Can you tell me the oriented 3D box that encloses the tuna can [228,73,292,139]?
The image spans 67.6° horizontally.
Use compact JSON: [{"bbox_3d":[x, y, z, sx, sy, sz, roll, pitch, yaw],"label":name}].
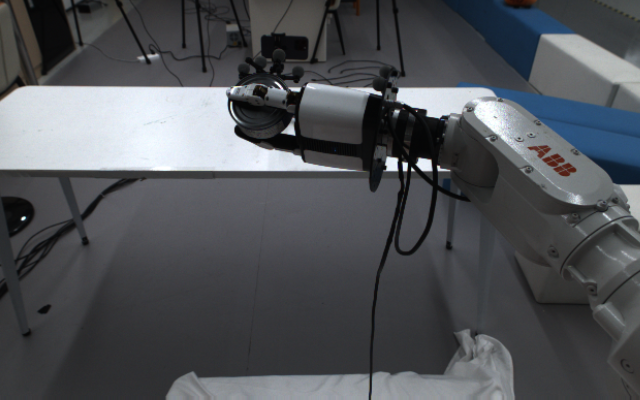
[{"bbox_3d":[-0.080,-0.128,0.659,0.085,0.034,0.085,-3,69,8],"label":"tuna can"}]
